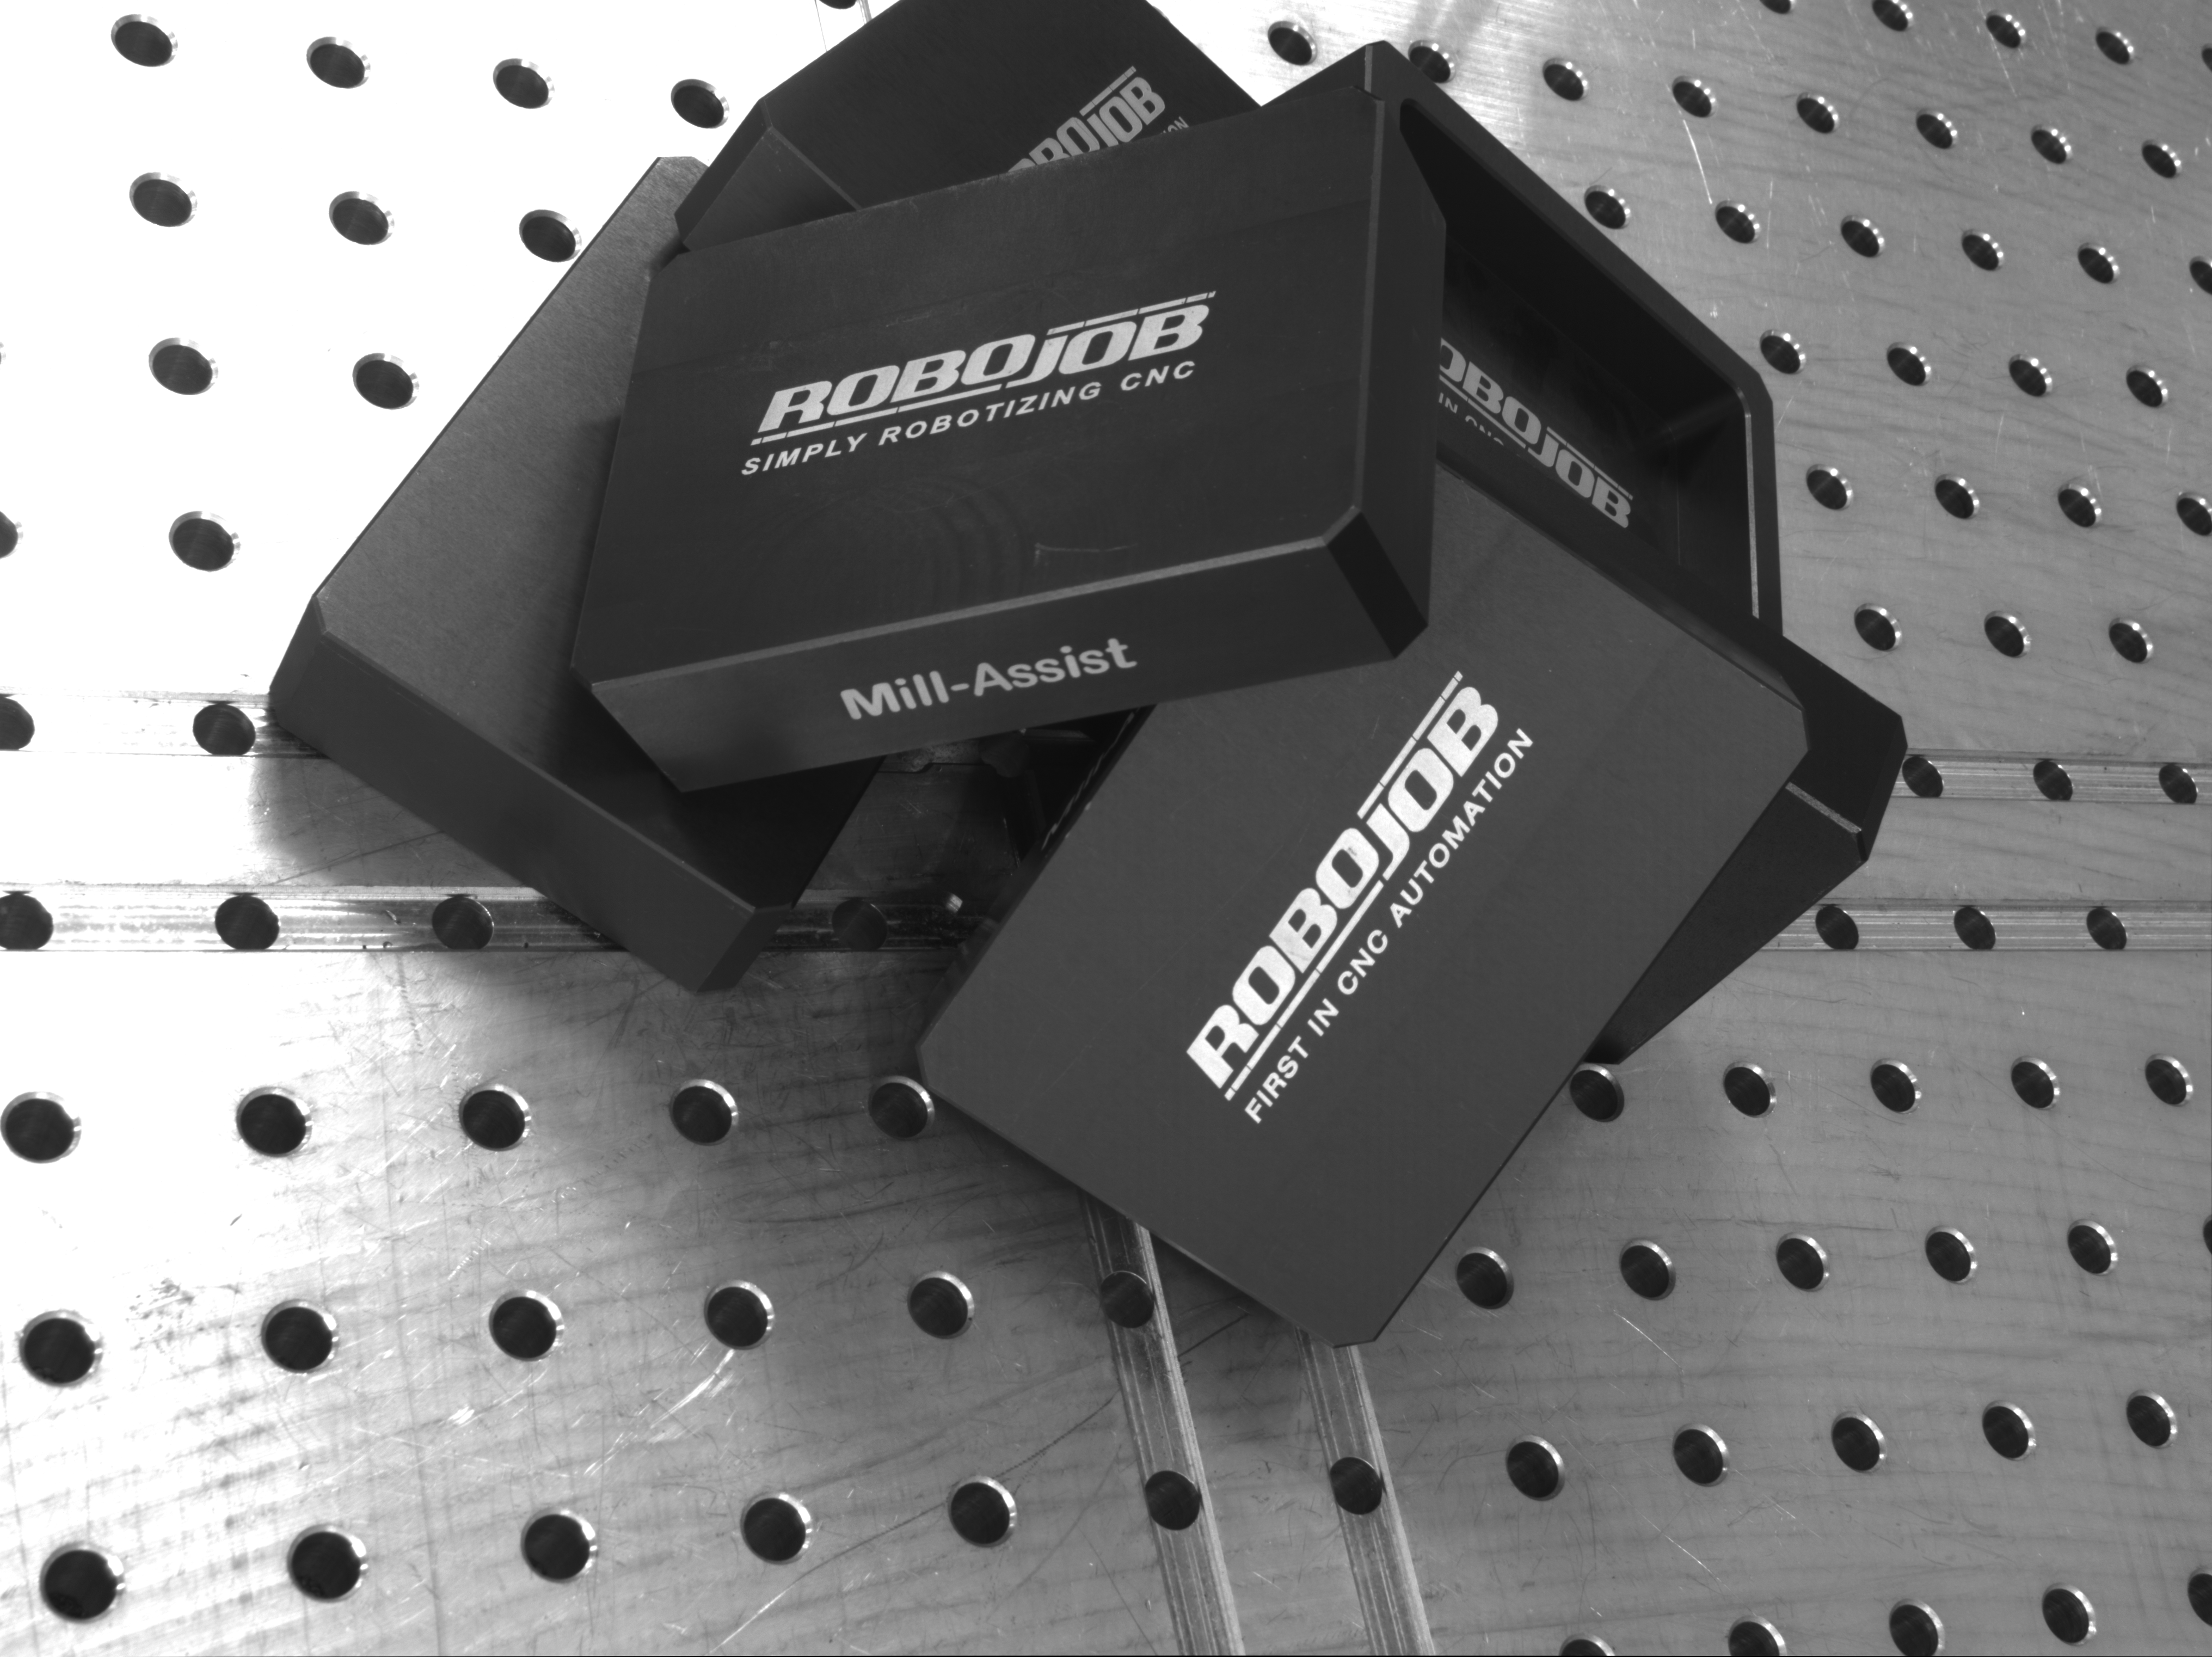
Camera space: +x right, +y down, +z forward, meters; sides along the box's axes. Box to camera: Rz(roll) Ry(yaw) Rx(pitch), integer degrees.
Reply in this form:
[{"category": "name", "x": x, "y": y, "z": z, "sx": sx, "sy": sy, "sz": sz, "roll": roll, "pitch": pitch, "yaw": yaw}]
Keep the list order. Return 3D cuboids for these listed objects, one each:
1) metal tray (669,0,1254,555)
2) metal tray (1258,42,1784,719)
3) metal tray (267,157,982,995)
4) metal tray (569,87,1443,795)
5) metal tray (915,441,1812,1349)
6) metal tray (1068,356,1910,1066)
[{"category": "metal tray", "x": -0.012, "y": -0.113, "z": 0.678, "sx": 0.090, "sy": 0.030, "sz": 0.130, "roll": 42, "pitch": 37, "yaw": -3}, {"category": "metal tray", "x": 0.079, "y": -0.077, "z": 0.697, "sx": 0.130, "sy": 0.030, "sz": 0.090, "roll": 33, "pitch": 48, "yaw": -36}, {"category": "metal tray", "x": -0.071, "y": -0.046, "z": 0.629, "sx": 0.090, "sy": 0.030, "sz": 0.130, "roll": 34, "pitch": 51, "yaw": -7}, {"category": "metal tray", "x": -0.015, "y": -0.060, "z": 0.574, "sx": 0.030, "sy": 0.130, "sz": 0.090, "roll": 54, "pitch": 34, "yaw": -48}, {"category": "metal tray", "x": 0.041, "y": 0.008, "z": 0.598, "sx": 0.090, "sy": 0.130, "sz": 0.030, "roll": 33, "pitch": 13, "yaw": -6}, {"category": "metal tray", "x": 0.062, "y": -0.021, "z": 0.645, "sx": 0.130, "sy": 0.090, "sz": 0.030, "roll": 34, "pitch": 51, "yaw": -6}]
